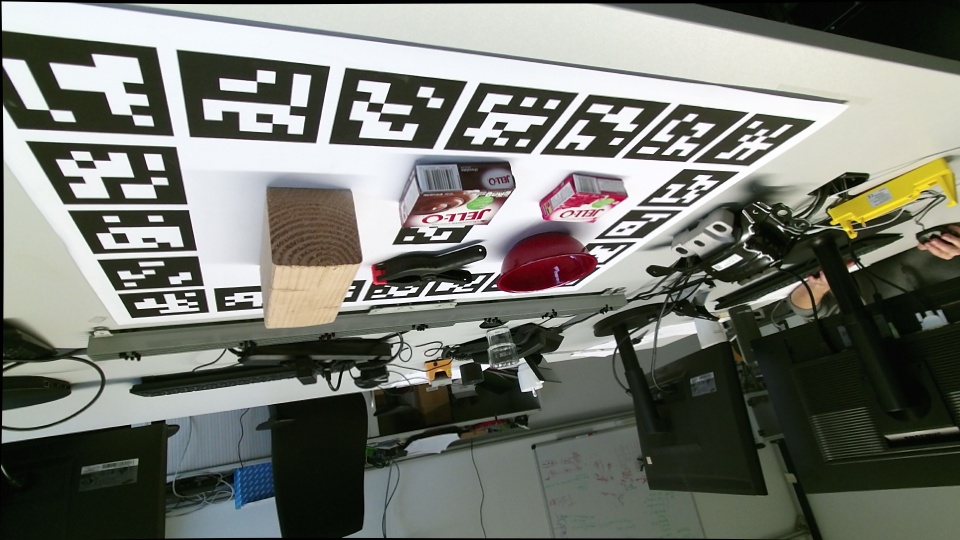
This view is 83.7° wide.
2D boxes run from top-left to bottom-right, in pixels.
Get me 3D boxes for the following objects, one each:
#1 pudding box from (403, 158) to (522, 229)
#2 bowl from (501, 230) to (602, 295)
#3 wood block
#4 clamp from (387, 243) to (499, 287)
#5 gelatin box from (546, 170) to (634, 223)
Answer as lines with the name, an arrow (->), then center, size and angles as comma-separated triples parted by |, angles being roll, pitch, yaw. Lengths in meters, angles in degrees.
pudding box -> -0.022, -0.086, 0.606 | 0.114, 0.038, 0.090 | -6, 153, -25
bowl -> 0.106, -0.017, 0.846 | 0.162, 0.055, 0.162 | -11, 156, -5
wood block -> -0.202, -0.005, 0.627 | 0.090, 0.090, 0.206 | -1, 155, -26
clamp -> -0.059, -0.001, 0.818 | 0.166, 0.036, 0.122 | -6, 158, -14
gelatin box -> 0.143, -0.092, 0.695 | 0.090, 0.030, 0.073 | 1, 153, -32
